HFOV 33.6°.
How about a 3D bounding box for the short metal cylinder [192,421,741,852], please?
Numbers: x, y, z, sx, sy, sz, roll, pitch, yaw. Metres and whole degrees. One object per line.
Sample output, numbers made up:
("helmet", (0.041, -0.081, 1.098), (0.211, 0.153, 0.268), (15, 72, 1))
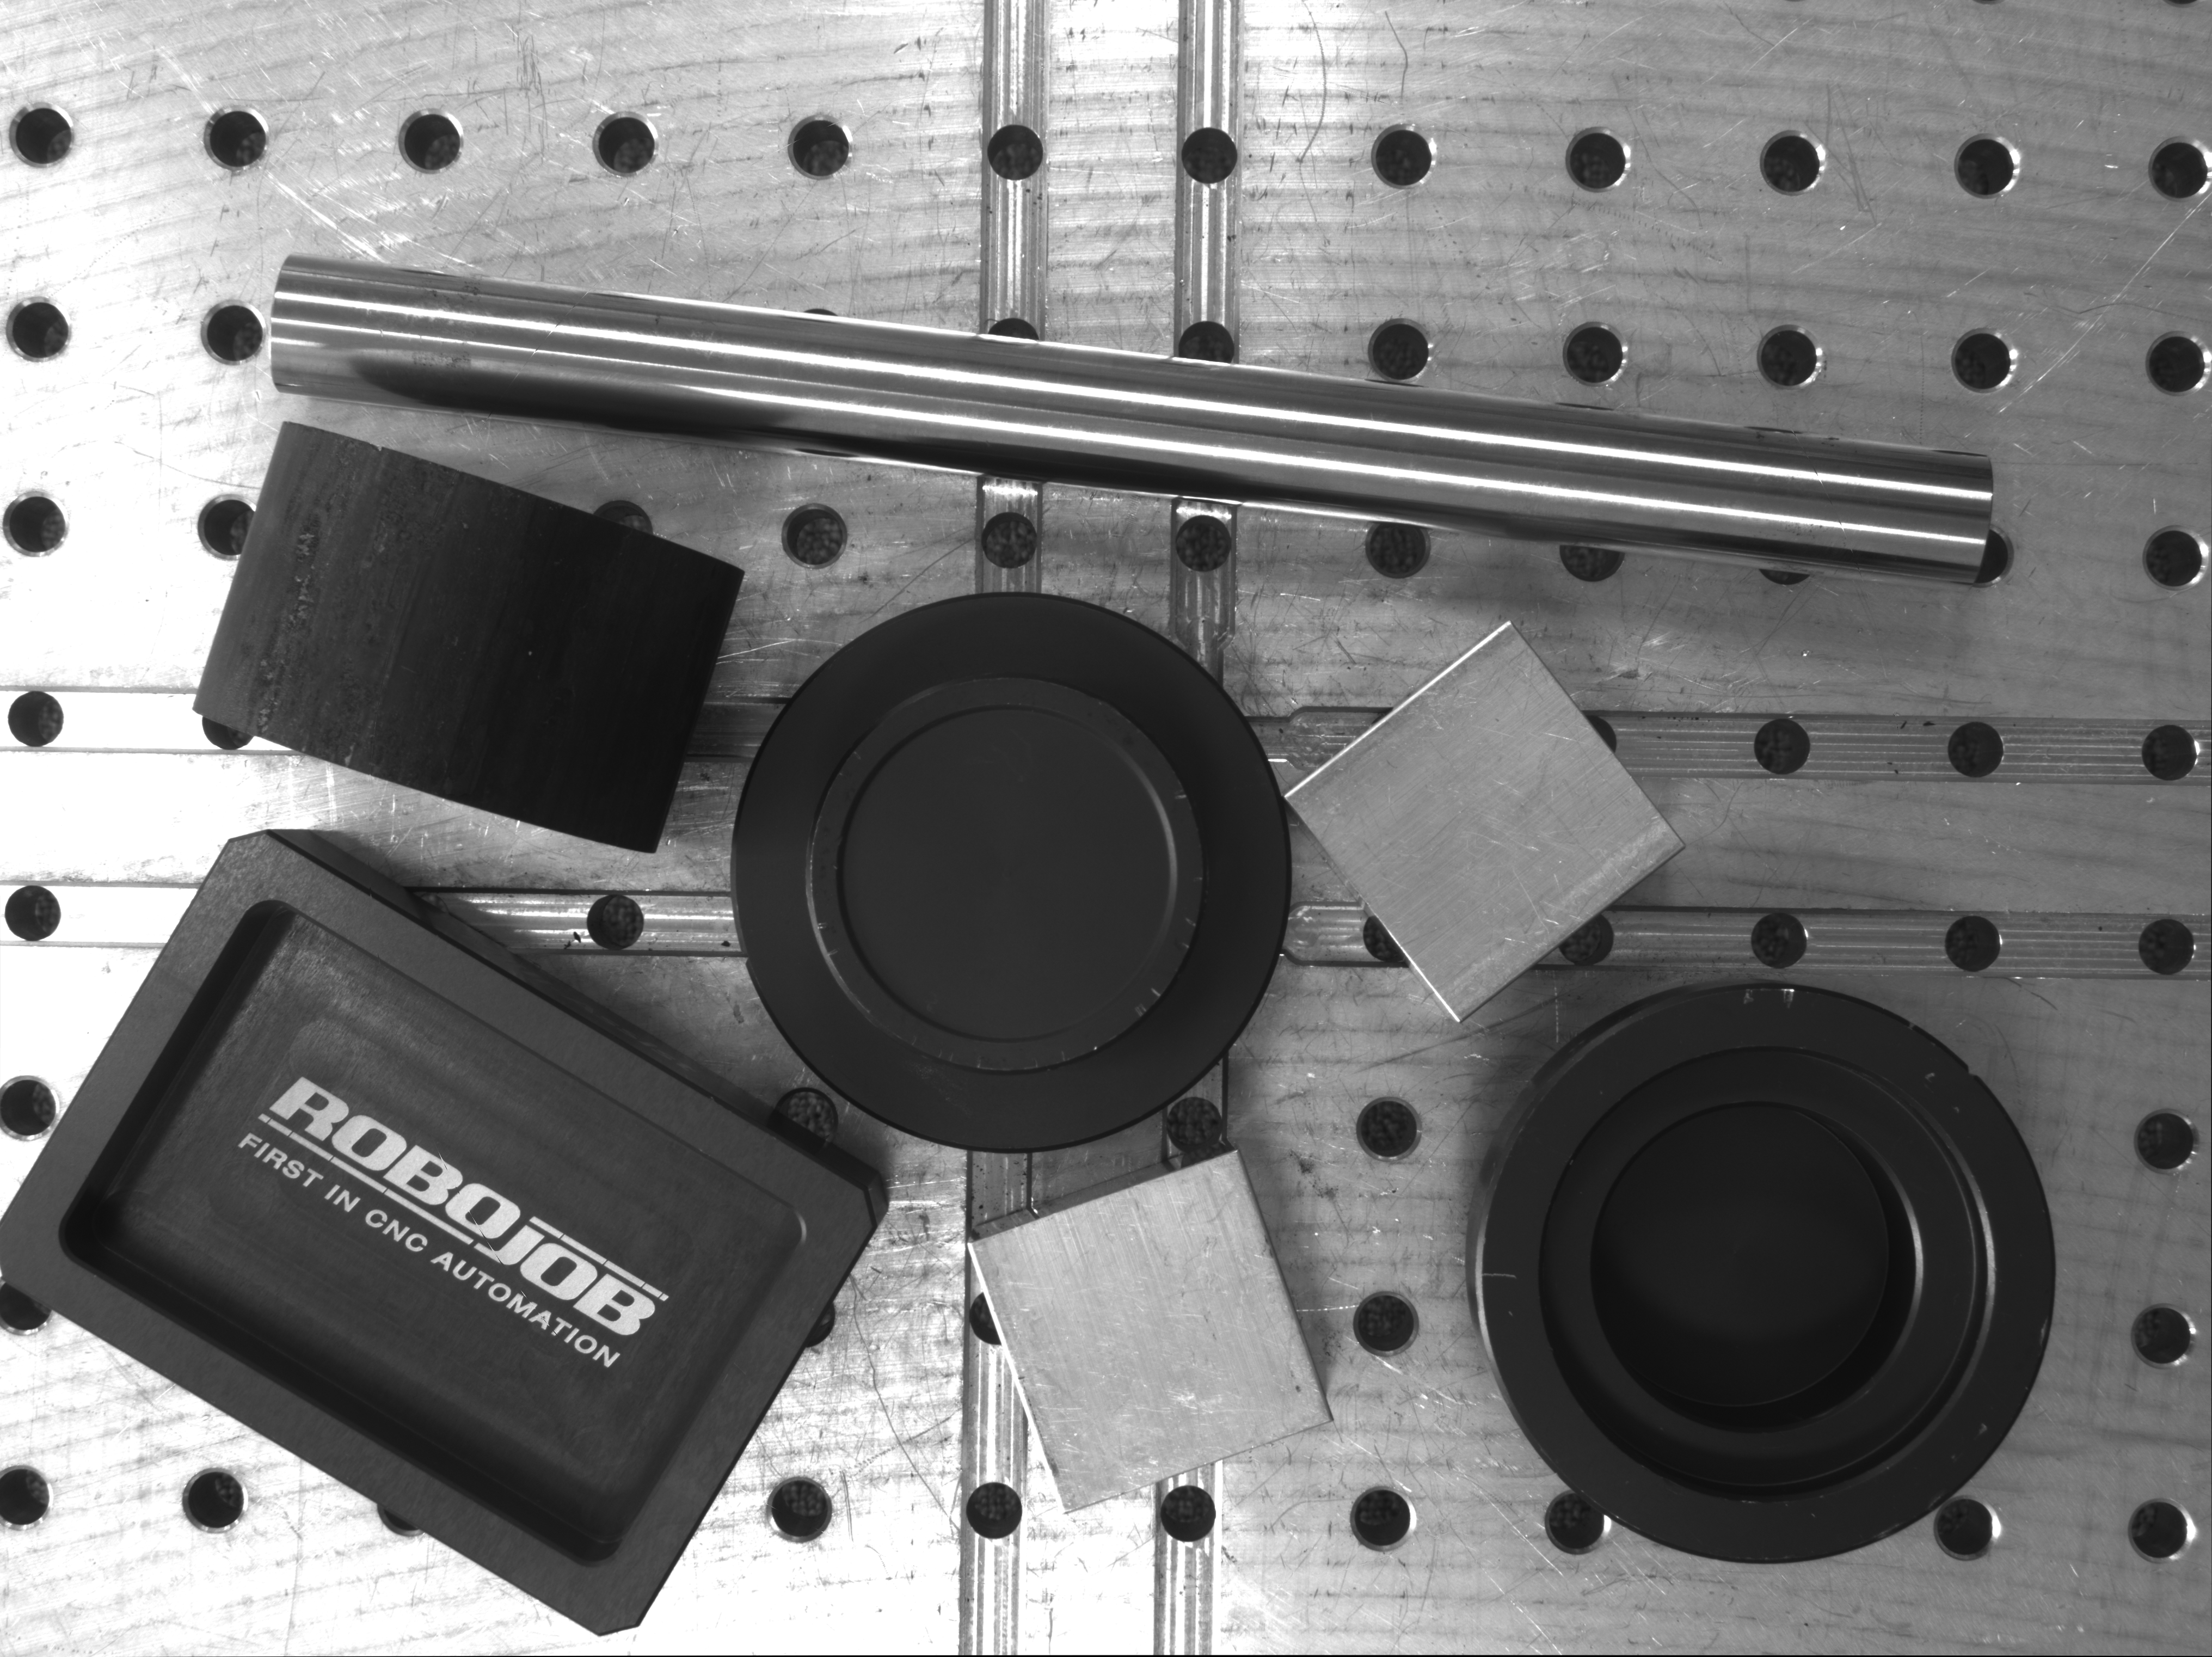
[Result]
("short metal cylinder", (-0.107, -0.032, 0.620), (0.080, 0.080, 0.050), (18, 90, 0))

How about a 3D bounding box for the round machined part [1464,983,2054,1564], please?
("round machined part", (0.111, 0.075, 0.639), (0.098, 0.042, 0.098), (0, 90, 0))

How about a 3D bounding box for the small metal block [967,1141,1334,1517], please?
("small metal block", (0.008, 0.087, 0.648), (0.050, 0.025, 0.050), (-19, 90, 0))

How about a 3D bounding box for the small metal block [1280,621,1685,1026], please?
("small metal block", (0.065, -0.001, 0.648), (0.050, 0.025, 0.050), (-38, 90, 0))

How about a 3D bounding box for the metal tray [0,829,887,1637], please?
("metal tray", (-0.116, 0.069, 0.644), (0.130, 0.030, 0.090), (31, 90, 0))

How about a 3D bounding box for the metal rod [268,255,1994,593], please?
("metal rod", (0.004, -0.071, 0.647), (0.300, 0.025, 0.025), (7, 90, 0))

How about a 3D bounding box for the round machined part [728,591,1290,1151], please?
("round machined part", (-0.017, 0.007, 0.638), (0.098, 0.042, 0.098), (0, 87, 0))
